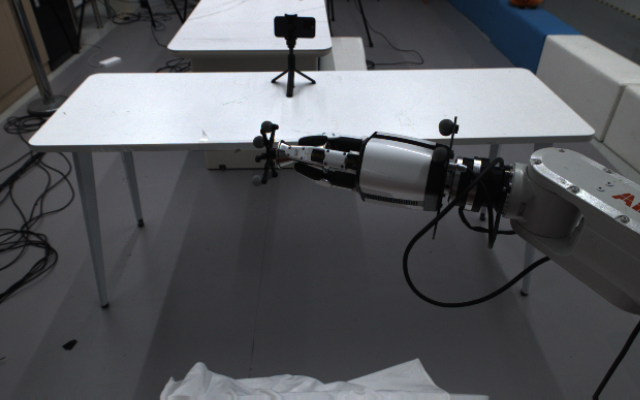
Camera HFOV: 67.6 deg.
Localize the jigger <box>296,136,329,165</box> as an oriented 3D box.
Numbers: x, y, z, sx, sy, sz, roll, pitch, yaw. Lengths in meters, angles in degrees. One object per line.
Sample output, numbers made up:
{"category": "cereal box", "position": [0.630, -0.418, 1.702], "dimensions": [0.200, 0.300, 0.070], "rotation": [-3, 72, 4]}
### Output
{"category": "jigger", "position": [-0.016, -0.064, 0.668], "dimensions": [0.071, 0.043, 0.043], "rotation": [5, 34, 15]}
